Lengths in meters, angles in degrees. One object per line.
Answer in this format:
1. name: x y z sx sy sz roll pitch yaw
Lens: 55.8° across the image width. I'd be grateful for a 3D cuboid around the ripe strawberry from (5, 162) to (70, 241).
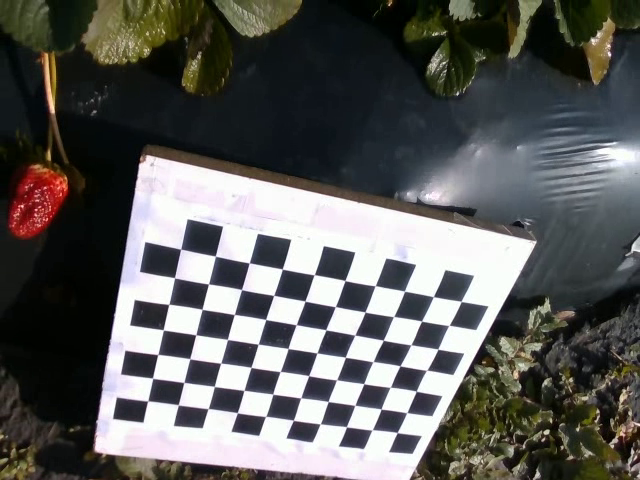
1. ripe strawberry: -0.066 -0.010 0.138 0.016 0.022 0.015 19 -25 -18
